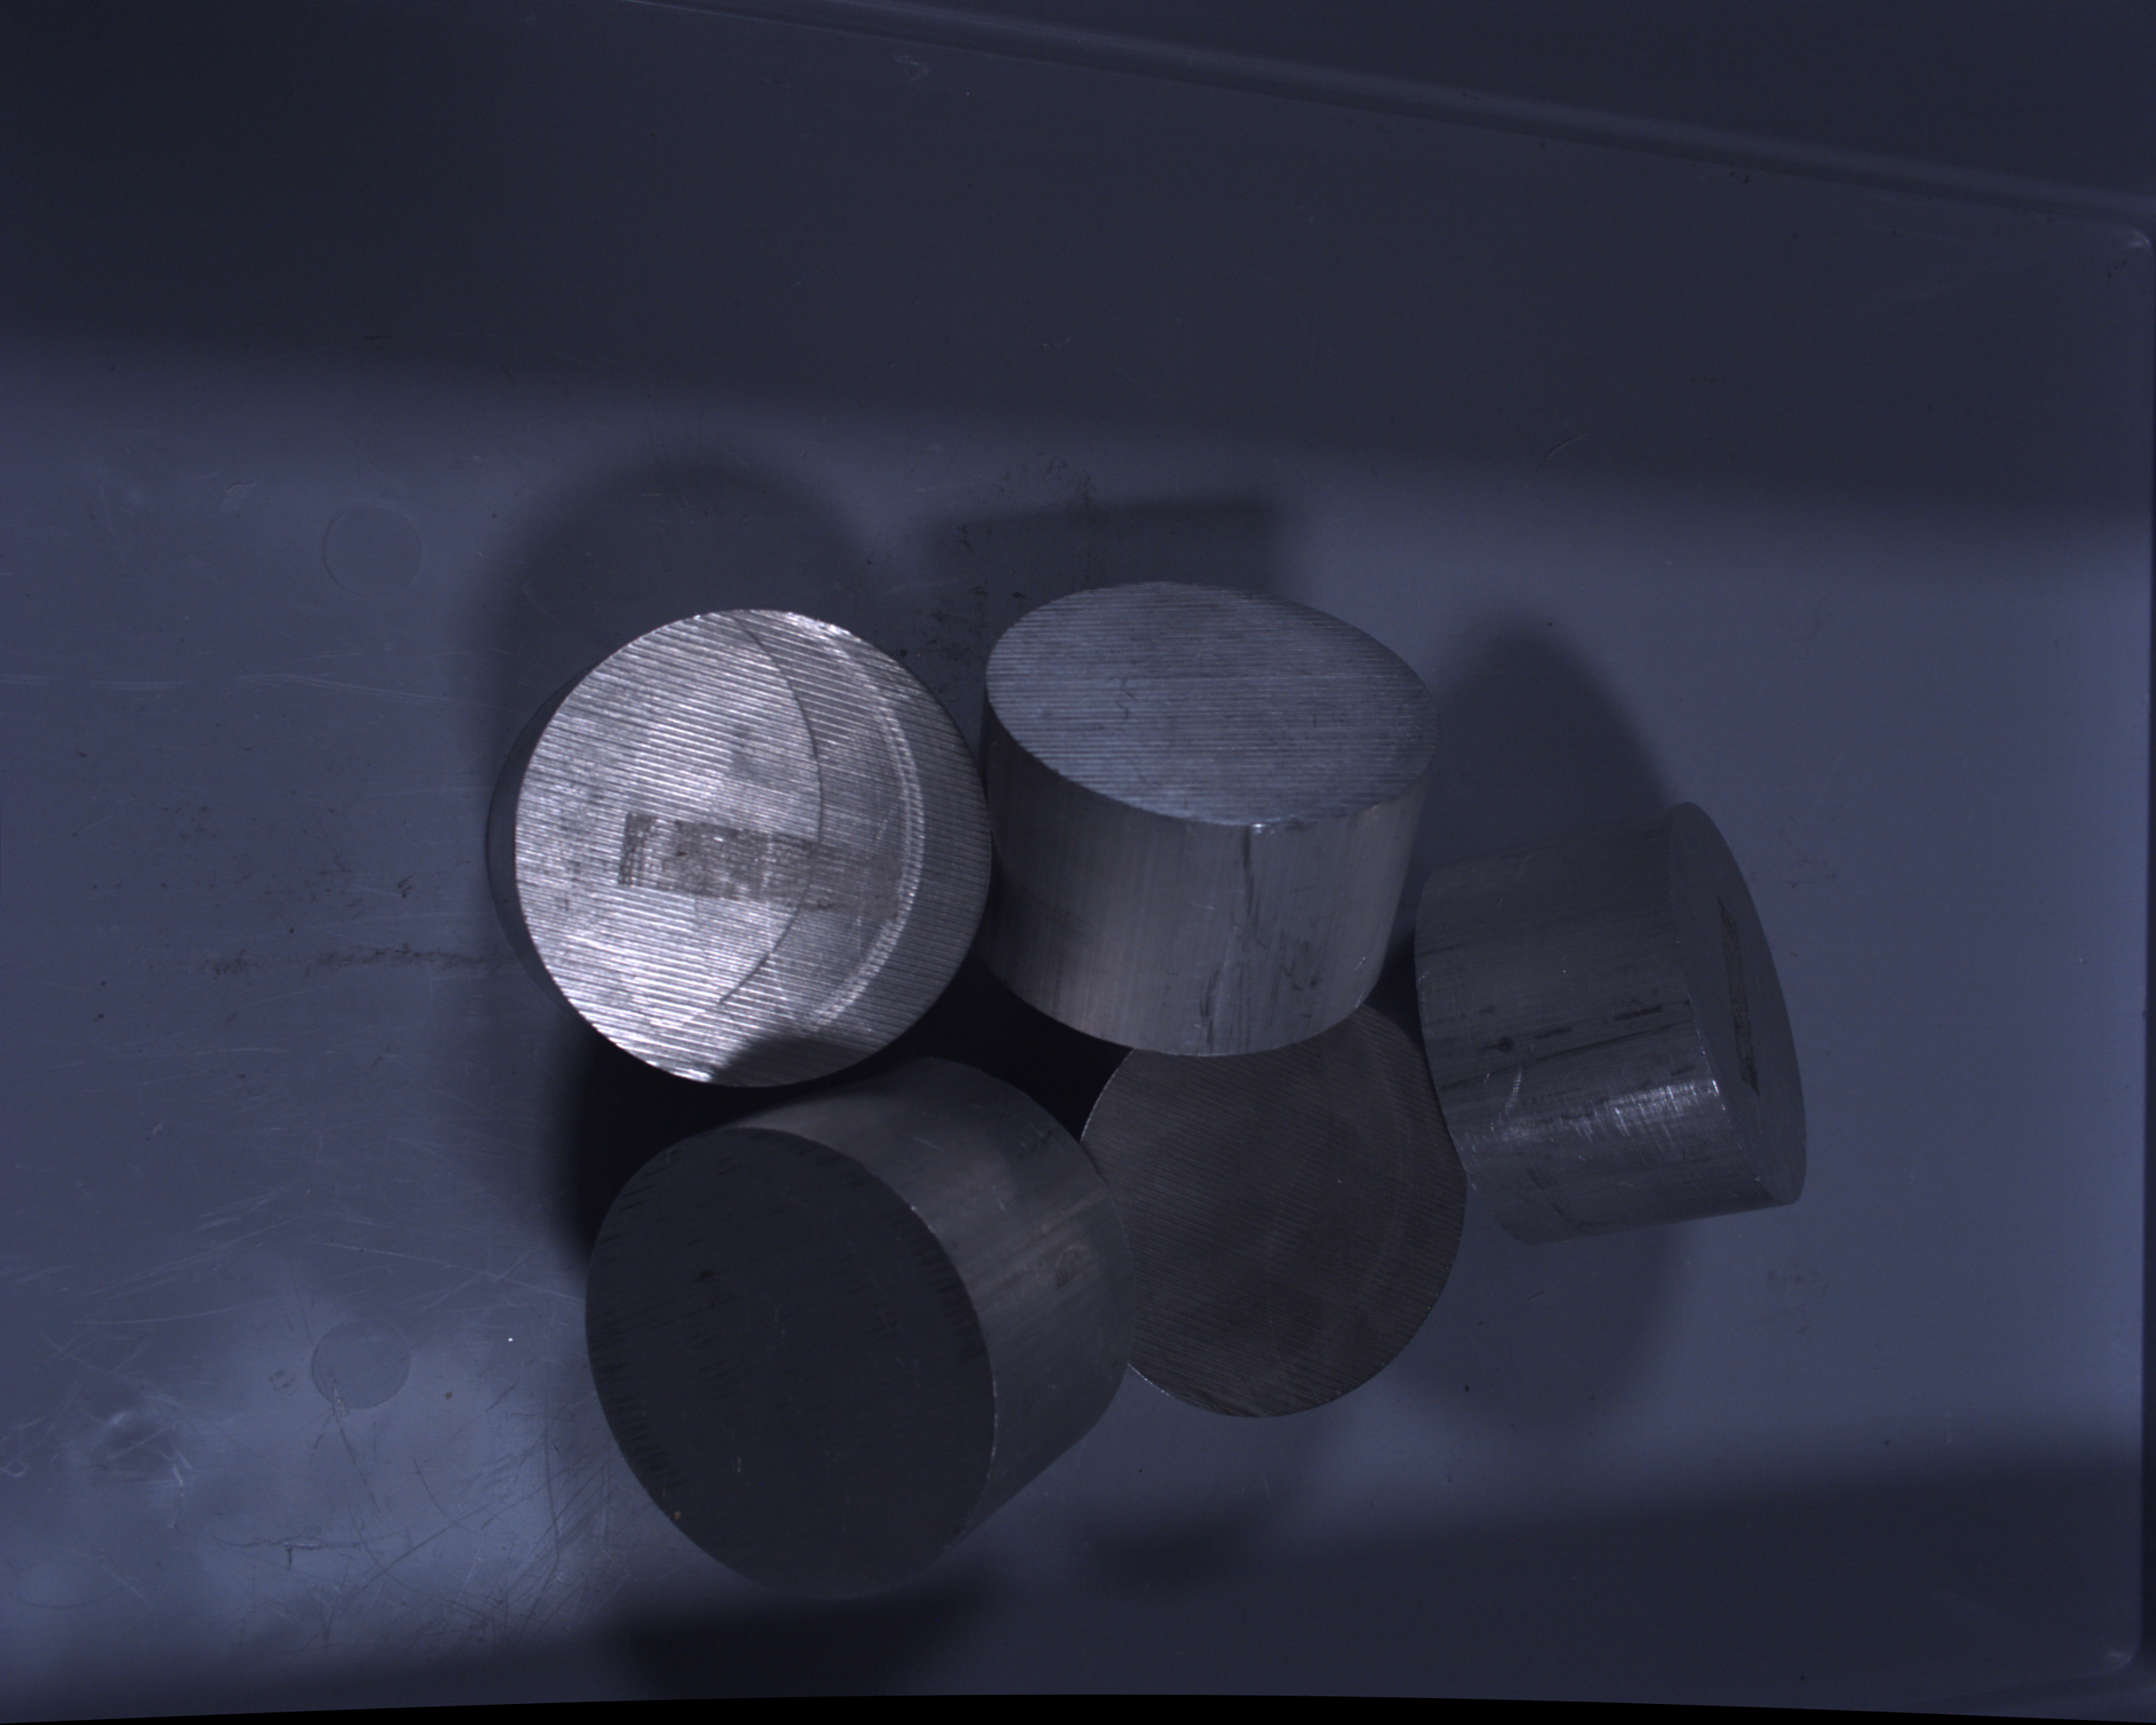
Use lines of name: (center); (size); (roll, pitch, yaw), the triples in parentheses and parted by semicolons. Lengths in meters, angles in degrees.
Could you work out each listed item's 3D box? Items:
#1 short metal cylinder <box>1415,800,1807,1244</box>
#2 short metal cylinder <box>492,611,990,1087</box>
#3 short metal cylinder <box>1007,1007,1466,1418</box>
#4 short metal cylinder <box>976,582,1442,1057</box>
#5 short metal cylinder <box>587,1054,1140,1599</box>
short metal cylinder: (0.107, 0.032, 0.415); (0.080, 0.050, 0.080); (36, 46, -49)
short metal cylinder: (-0.062, -0.002, 0.372); (0.081, 0.050, 0.079); (0, 90, -21)
short metal cylinder: (0.028, 0.062, 0.407); (0.081, 0.050, 0.079); (0, 90, -21)
short metal cylinder: (0.021, -0.010, 0.381); (0.081, 0.080, 0.050); (-9, 129, -20)
short metal cylinder: (-0.036, 0.078, 0.360); (0.050, 0.080, 0.079); (-18, 99, -62)
